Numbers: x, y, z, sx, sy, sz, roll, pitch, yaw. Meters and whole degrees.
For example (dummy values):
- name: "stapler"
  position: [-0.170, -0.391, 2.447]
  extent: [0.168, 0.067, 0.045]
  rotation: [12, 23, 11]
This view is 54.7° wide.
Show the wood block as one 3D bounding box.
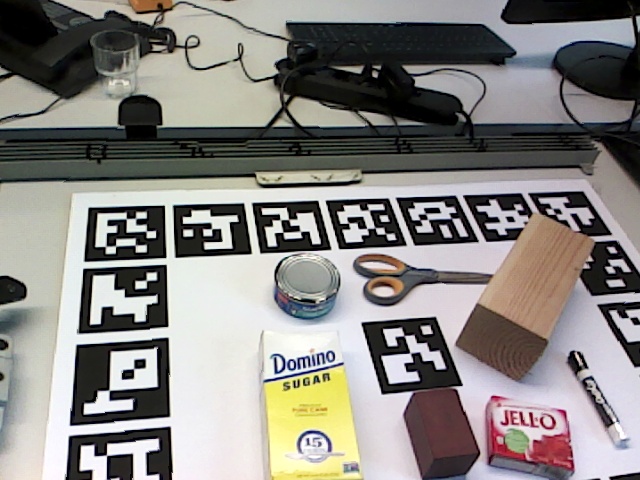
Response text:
- name: "wood block"
  position: [0.273, 0.077, 0.812]
  extent: [0.090, 0.091, 0.206]
  rotation: [30, 49, 19]

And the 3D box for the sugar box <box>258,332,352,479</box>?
- name: "sugar box"
  position: [-0.021, 0.186, 0.690]
  extent: [0.092, 0.045, 0.177]
  rotation: [2, 47, -9]

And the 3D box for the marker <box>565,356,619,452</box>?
- name: "marker"
  position: [0.328, 0.195, 0.750]
  extent: [0.019, 0.019, 0.121]
  rotation: [-1, 49, -10]

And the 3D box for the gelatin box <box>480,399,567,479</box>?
- name: "gelatin box"
  position: [0.228, 0.226, 0.700]
  extent: [0.089, 0.030, 0.073]
  rotation: [11, 47, 2]

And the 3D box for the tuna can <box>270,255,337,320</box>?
- name: "tuna can"
  position: [-0.023, 0.062, 0.809]
  extent: [0.085, 0.033, 0.086]
  rotation: [4, 47, -5]

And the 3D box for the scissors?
- name: "scissors"
  position: [0.144, 0.058, 0.856]
  extent: [0.202, 0.016, 0.088]
  rotation: [2, 47, -4]

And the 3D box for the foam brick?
- name: "foam brick"
  position: [0.126, 0.213, 0.676]
  extent: [0.052, 0.051, 0.078]
  rotation: [-1, 48, -10]
